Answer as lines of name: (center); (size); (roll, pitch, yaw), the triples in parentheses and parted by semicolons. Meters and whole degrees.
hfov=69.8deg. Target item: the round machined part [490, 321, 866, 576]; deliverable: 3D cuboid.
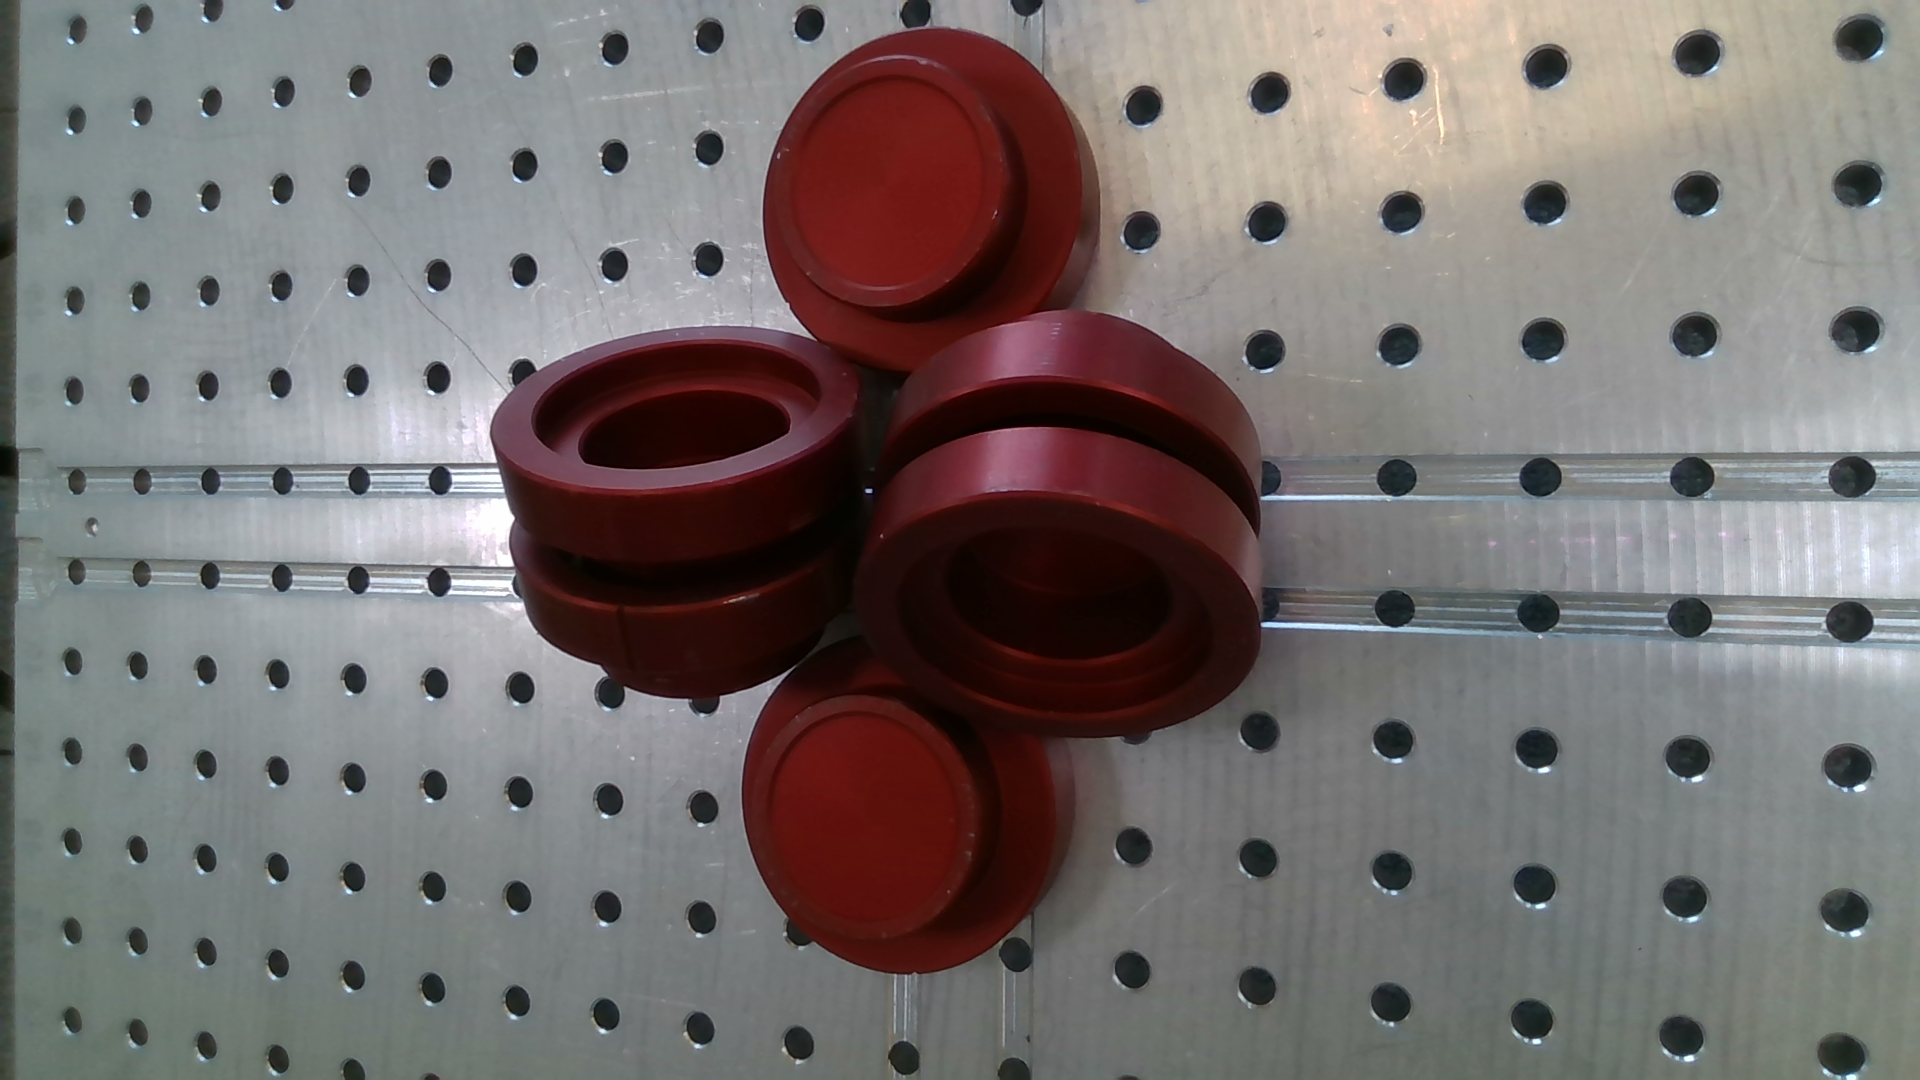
round machined part: (-0.075, -0.021, 0.380); (0.098, 0.098, 0.042); (10, 125, 20)

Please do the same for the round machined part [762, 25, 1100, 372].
round machined part: (-0.013, -0.097, 0.391); (0.098, 0.042, 0.098); (0, 90, 20)

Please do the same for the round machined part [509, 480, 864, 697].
round machined part: (-0.075, 0.008, 0.395); (0.098, 0.098, 0.042); (11, 125, 20)

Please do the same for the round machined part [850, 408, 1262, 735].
round machined part: (0.025, 0.004, 0.341); (0.098, 0.098, 0.042); (-6, 48, 20)

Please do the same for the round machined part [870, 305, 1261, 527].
round machined part: (0.029, -0.022, 0.359); (0.098, 0.098, 0.042); (-6, 48, 20)

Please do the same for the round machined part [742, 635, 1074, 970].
round machined part: (-0.020, 0.075, 0.395); (0.098, 0.042, 0.098); (0, 90, 20)
